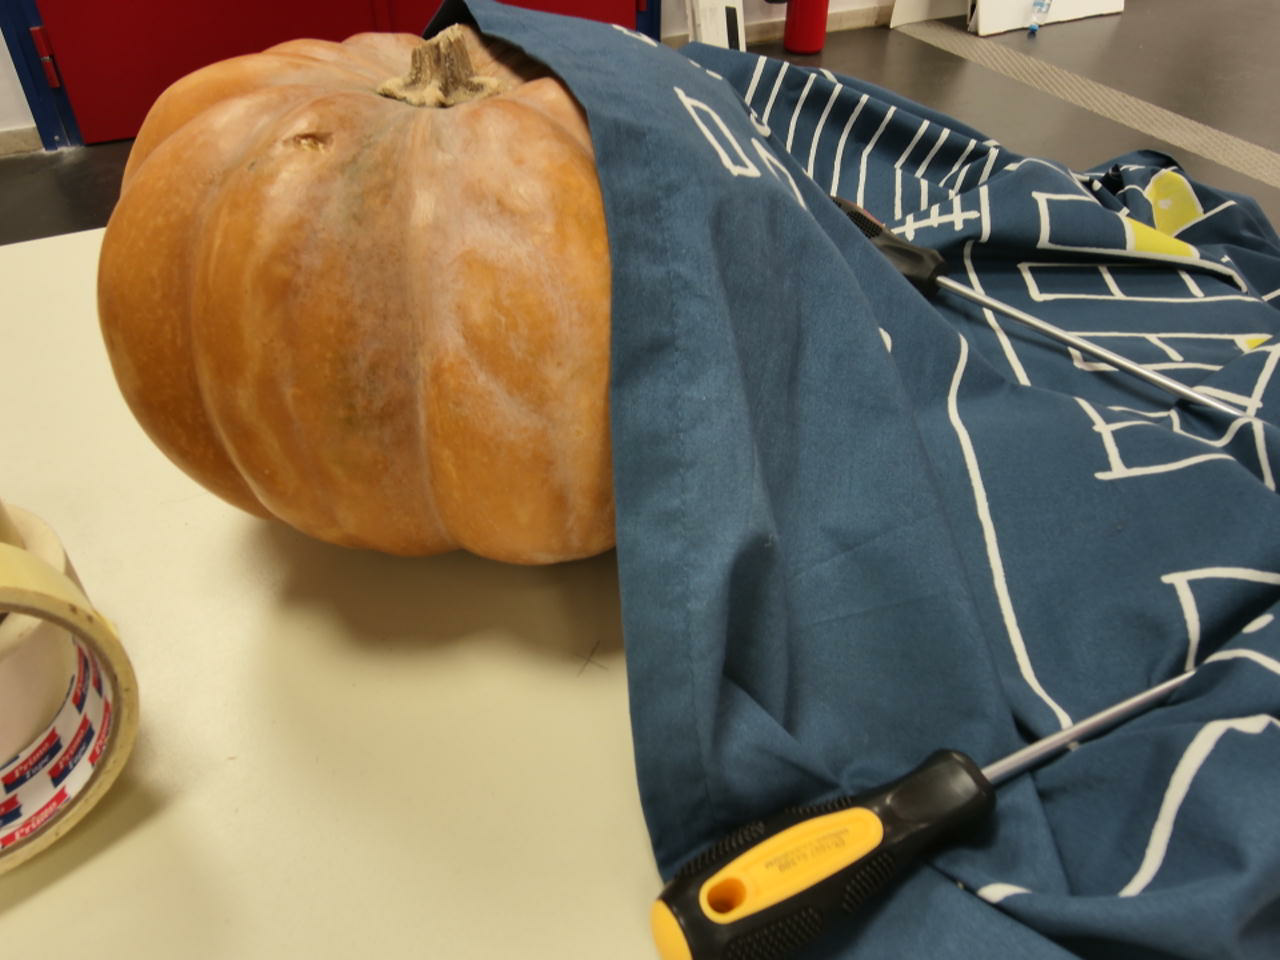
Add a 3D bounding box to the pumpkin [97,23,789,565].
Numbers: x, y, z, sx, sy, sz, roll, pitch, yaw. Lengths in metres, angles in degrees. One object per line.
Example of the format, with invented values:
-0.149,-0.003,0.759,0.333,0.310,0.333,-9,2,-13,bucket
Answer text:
-0.069,-0.081,0.398,0.277,0.181,0.277,0,38,0,pumpkin
